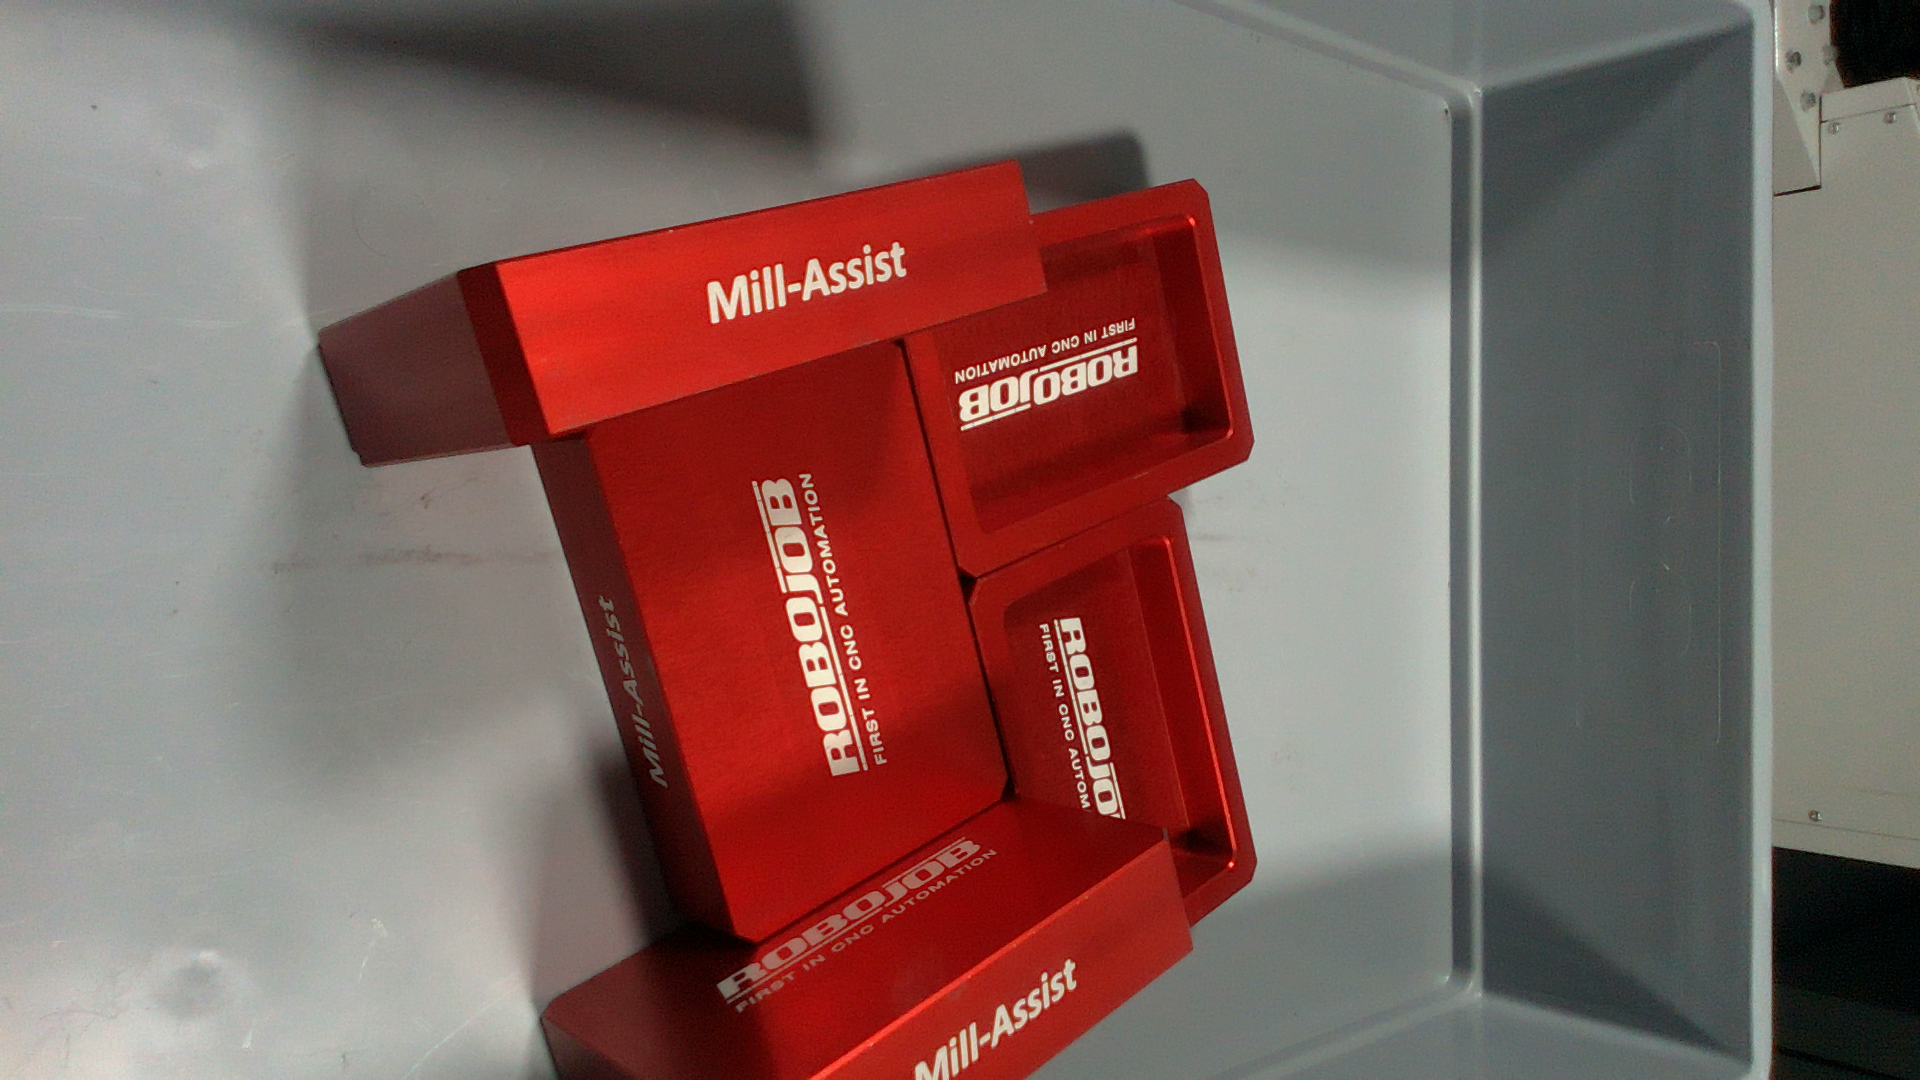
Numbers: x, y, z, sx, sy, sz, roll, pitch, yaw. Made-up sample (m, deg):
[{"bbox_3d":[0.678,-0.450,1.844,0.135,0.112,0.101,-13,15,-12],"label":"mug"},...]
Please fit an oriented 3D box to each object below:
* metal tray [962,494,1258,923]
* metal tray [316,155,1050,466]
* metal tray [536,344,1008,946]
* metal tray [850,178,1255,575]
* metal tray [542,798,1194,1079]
[{"bbox_3d":[0.041,0.060,0.418,0.090,0.030,0.130,-22,104,-38],"label":"metal tray"},{"bbox_3d":[-0.056,-0.050,0.296,0.130,0.090,0.030,-23,105,-37],"label":"metal tray"},{"bbox_3d":[-0.043,0.022,0.347,0.090,0.030,0.130,-22,104,-38],"label":"metal tray"},{"bbox_3d":[0.029,-0.051,0.408,0.131,0.030,0.090,-22,104,-38],"label":"metal tray"},{"bbox_3d":[-0.019,0.104,0.327,0.131,0.090,0.030,-22,104,-38],"label":"metal tray"}]
